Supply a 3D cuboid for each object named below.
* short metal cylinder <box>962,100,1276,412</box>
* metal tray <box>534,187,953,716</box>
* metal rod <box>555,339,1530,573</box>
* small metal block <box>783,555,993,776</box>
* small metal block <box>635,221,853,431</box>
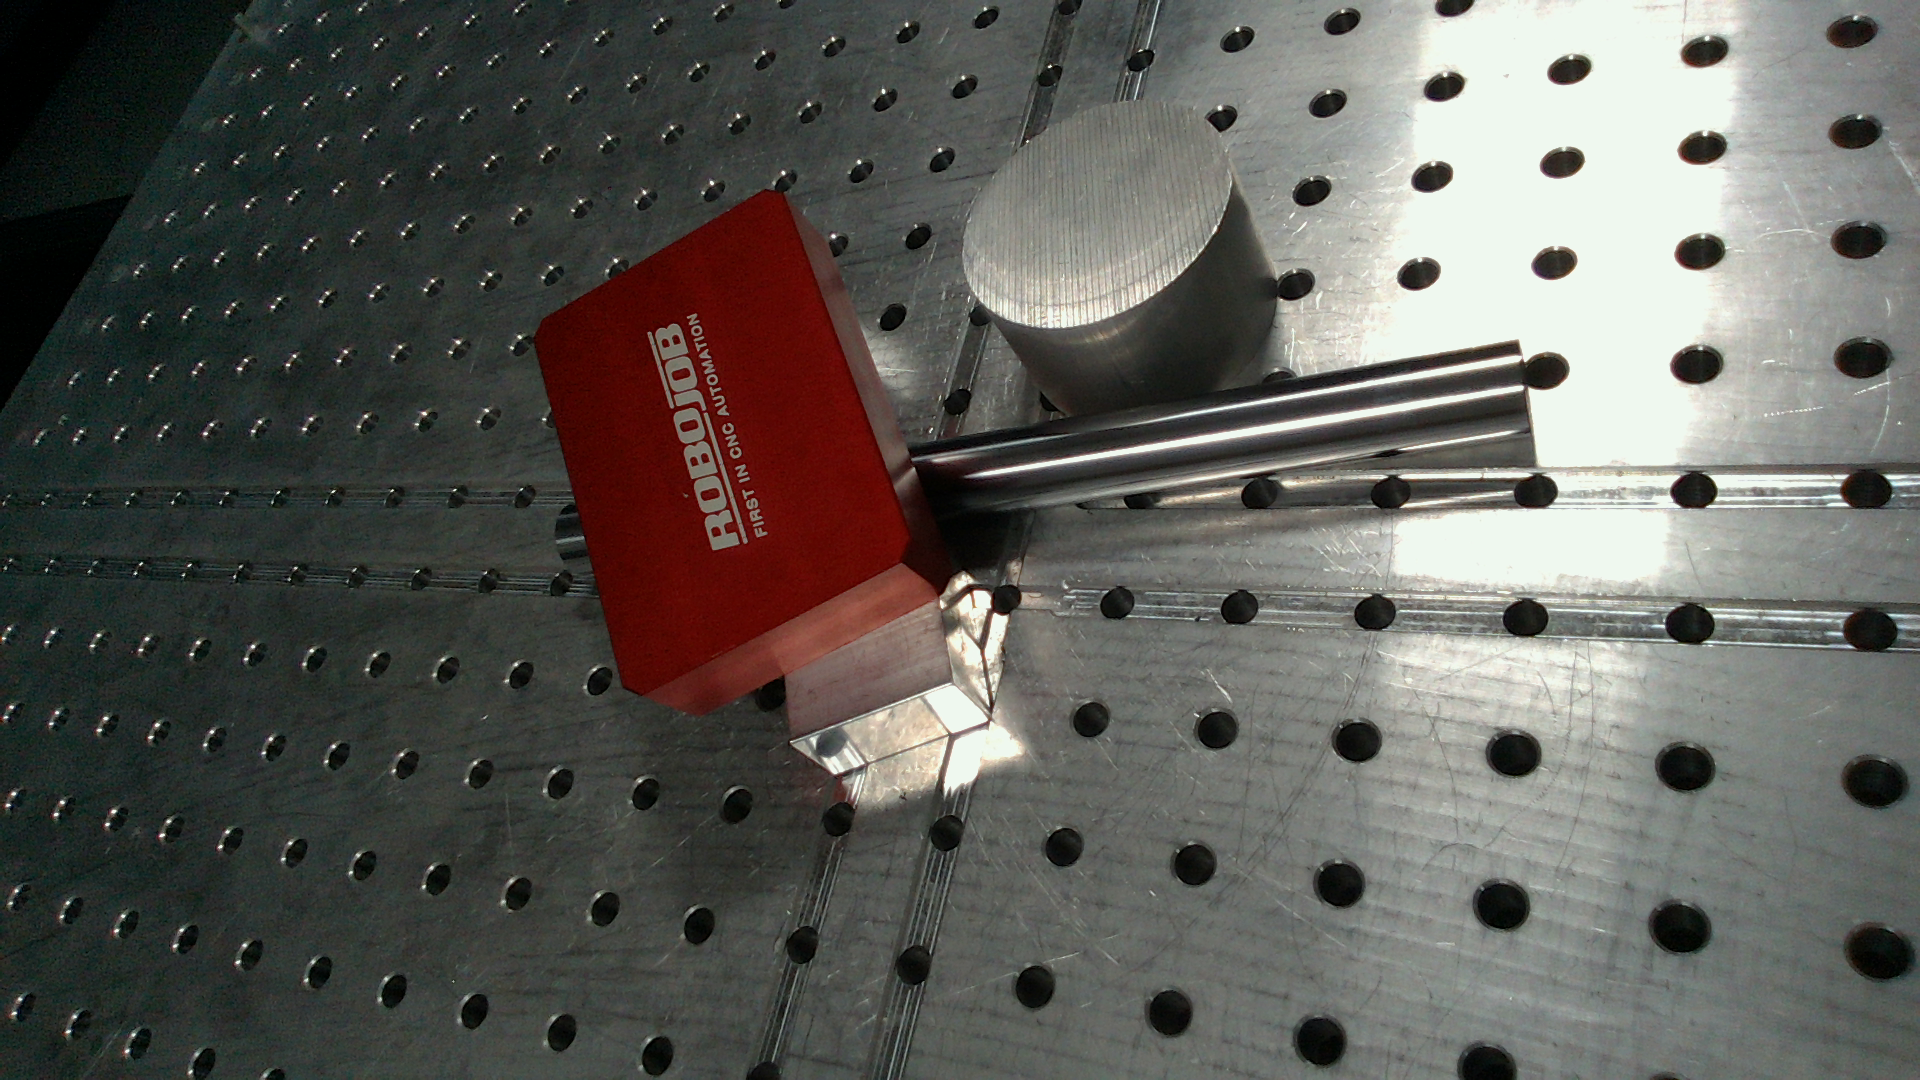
[{"bbox_3d":[0.047,-0.081,0.404,0.080,0.050,0.080,-14,56,21],"label":"short metal cylinder"},{"bbox_3d":[-0.066,-0.027,0.396,0.090,0.030,0.130,-27,63,12],"label":"metal tray"},{"bbox_3d":[0.006,-0.019,0.406,0.299,0.025,0.025,-8,58,24],"label":"metal rod"},{"bbox_3d":[-0.022,0.032,0.388,0.050,0.025,0.050,-21,53,16],"label":"small metal block"},{"bbox_3d":[-0.072,-0.071,0.463,0.050,0.050,0.025,-28,52,11],"label":"small metal block"}]
